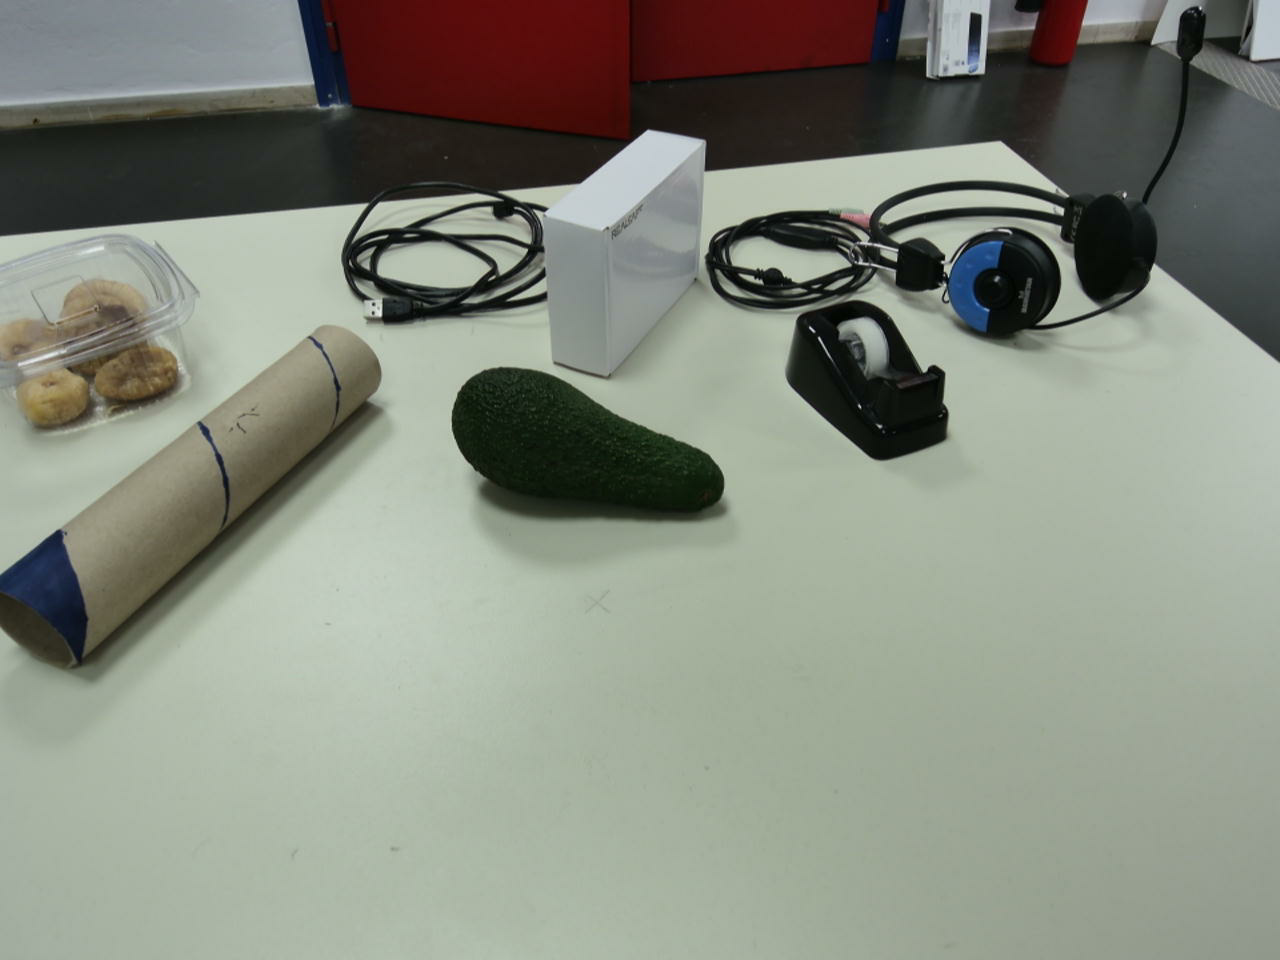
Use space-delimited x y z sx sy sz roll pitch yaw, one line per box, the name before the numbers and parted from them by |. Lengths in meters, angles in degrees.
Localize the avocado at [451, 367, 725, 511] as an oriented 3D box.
avocado | -0.026 -0.024 0.509 0.141 0.067 0.063 2 39 2
